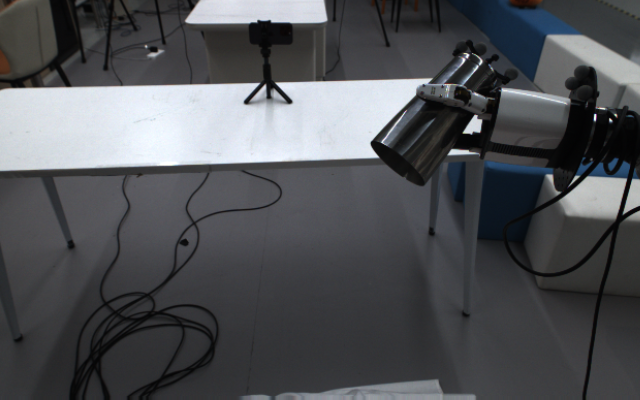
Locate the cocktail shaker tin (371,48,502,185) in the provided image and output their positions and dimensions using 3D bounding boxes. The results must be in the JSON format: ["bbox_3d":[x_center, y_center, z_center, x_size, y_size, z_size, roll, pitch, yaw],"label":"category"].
[{"bbox_3d":[0.158,-0.116,0.651,0.170,0.093,0.093,-48,49,-4],"label":"cocktail shaker tin"}]
